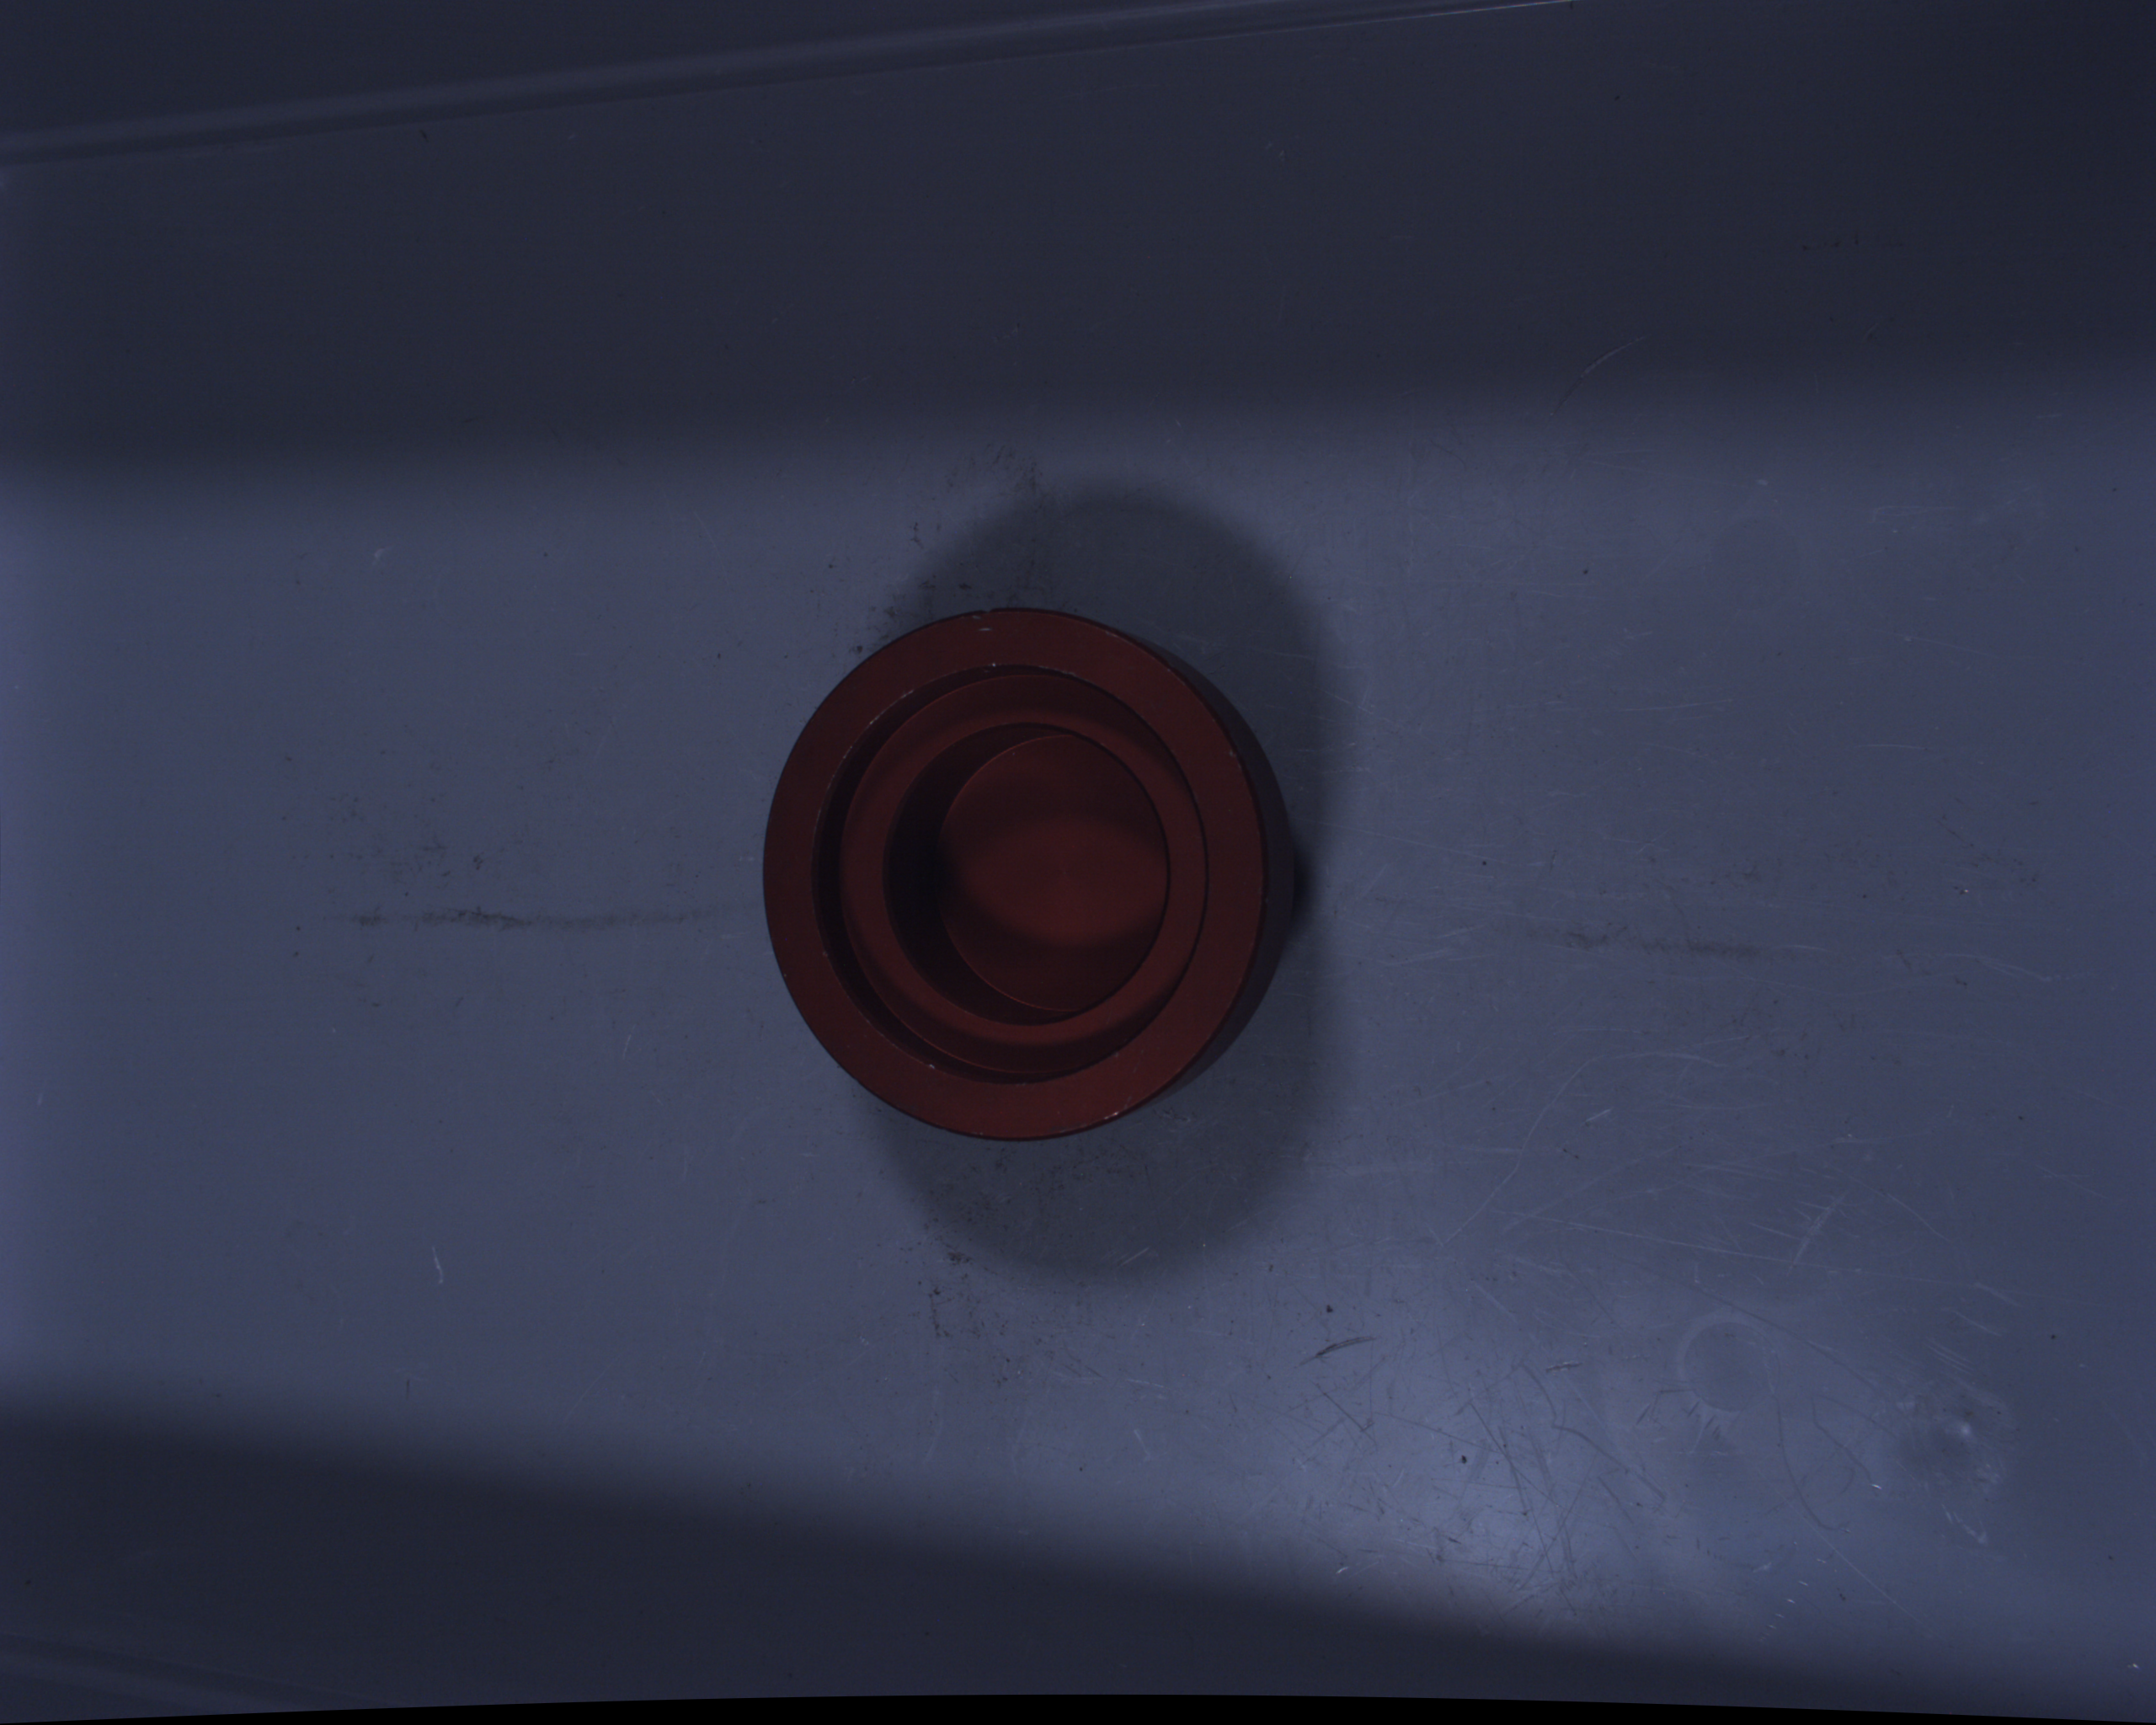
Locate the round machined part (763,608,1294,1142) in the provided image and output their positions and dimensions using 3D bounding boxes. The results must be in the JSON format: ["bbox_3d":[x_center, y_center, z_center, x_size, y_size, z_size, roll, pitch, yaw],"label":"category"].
[{"bbox_3d":[-0.007,0.002,0.399,0.098,0.042,0.097,0,90,19],"label":"round machined part"}]
